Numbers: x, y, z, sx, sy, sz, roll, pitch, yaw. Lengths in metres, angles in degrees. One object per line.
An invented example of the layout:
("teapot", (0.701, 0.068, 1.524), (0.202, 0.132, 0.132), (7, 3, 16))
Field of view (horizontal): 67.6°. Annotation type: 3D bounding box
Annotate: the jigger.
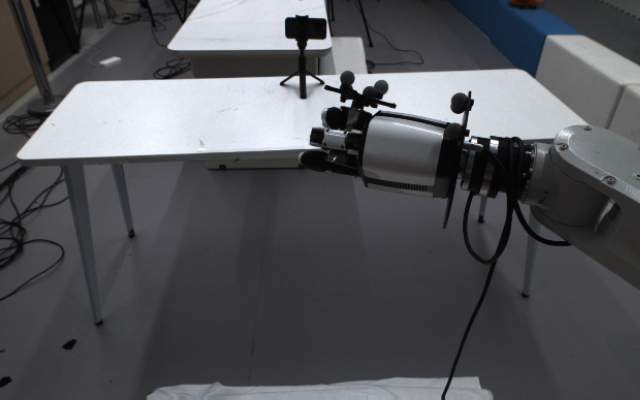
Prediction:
("jigger", (0.035, -0.076, 0.587), (0.043, 0.071, 0.043), (17, 2, -1))
